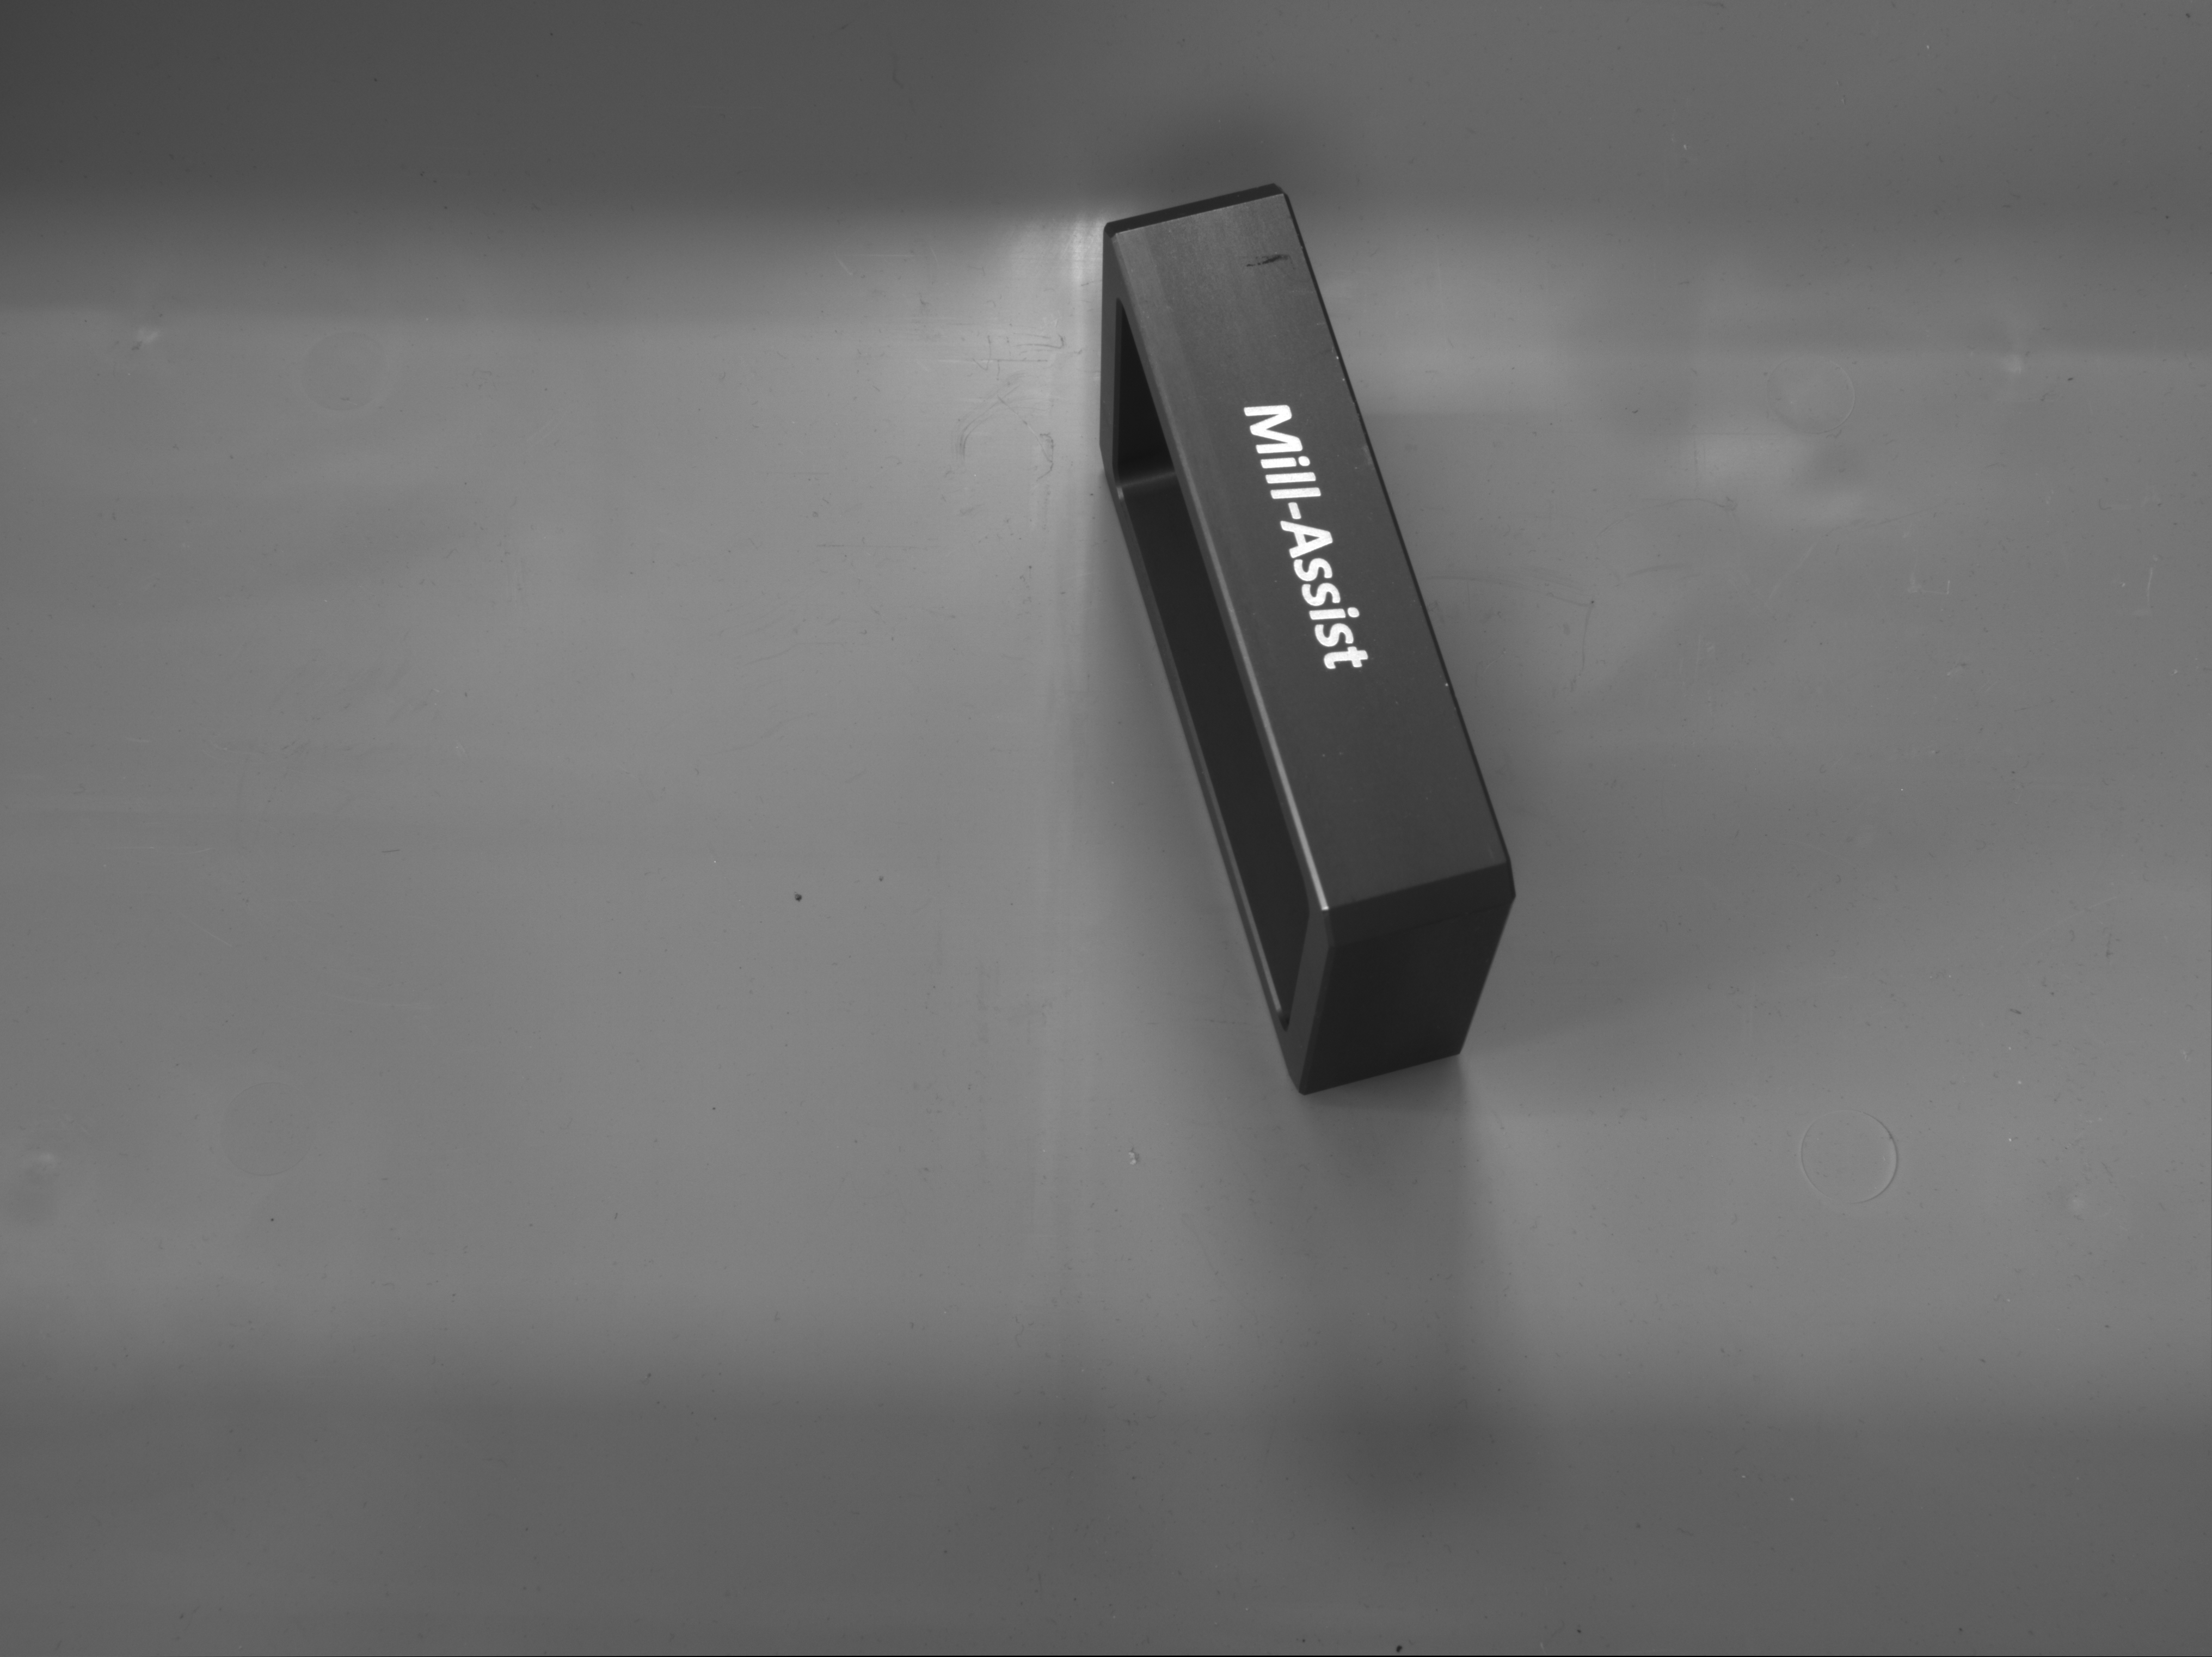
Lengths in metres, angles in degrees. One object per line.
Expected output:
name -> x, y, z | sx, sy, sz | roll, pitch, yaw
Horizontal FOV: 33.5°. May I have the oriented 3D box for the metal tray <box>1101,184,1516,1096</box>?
metal tray -> 0.031, -0.030, 0.619 | 0.030, 0.090, 0.130 | -14, 71, -6
